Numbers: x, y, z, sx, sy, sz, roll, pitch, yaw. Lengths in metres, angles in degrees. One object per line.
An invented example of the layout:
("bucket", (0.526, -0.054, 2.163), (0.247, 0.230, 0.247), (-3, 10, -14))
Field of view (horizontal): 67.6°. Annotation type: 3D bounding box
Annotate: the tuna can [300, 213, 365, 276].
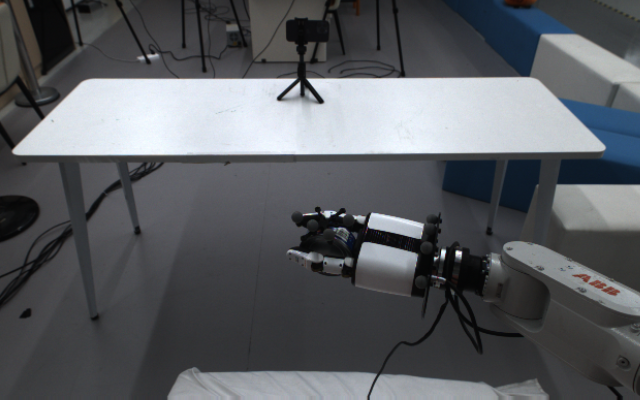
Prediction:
("tuna can", (0.015, 0.074, 0.740), (0.085, 0.085, 0.034), (11, 39, 13))
